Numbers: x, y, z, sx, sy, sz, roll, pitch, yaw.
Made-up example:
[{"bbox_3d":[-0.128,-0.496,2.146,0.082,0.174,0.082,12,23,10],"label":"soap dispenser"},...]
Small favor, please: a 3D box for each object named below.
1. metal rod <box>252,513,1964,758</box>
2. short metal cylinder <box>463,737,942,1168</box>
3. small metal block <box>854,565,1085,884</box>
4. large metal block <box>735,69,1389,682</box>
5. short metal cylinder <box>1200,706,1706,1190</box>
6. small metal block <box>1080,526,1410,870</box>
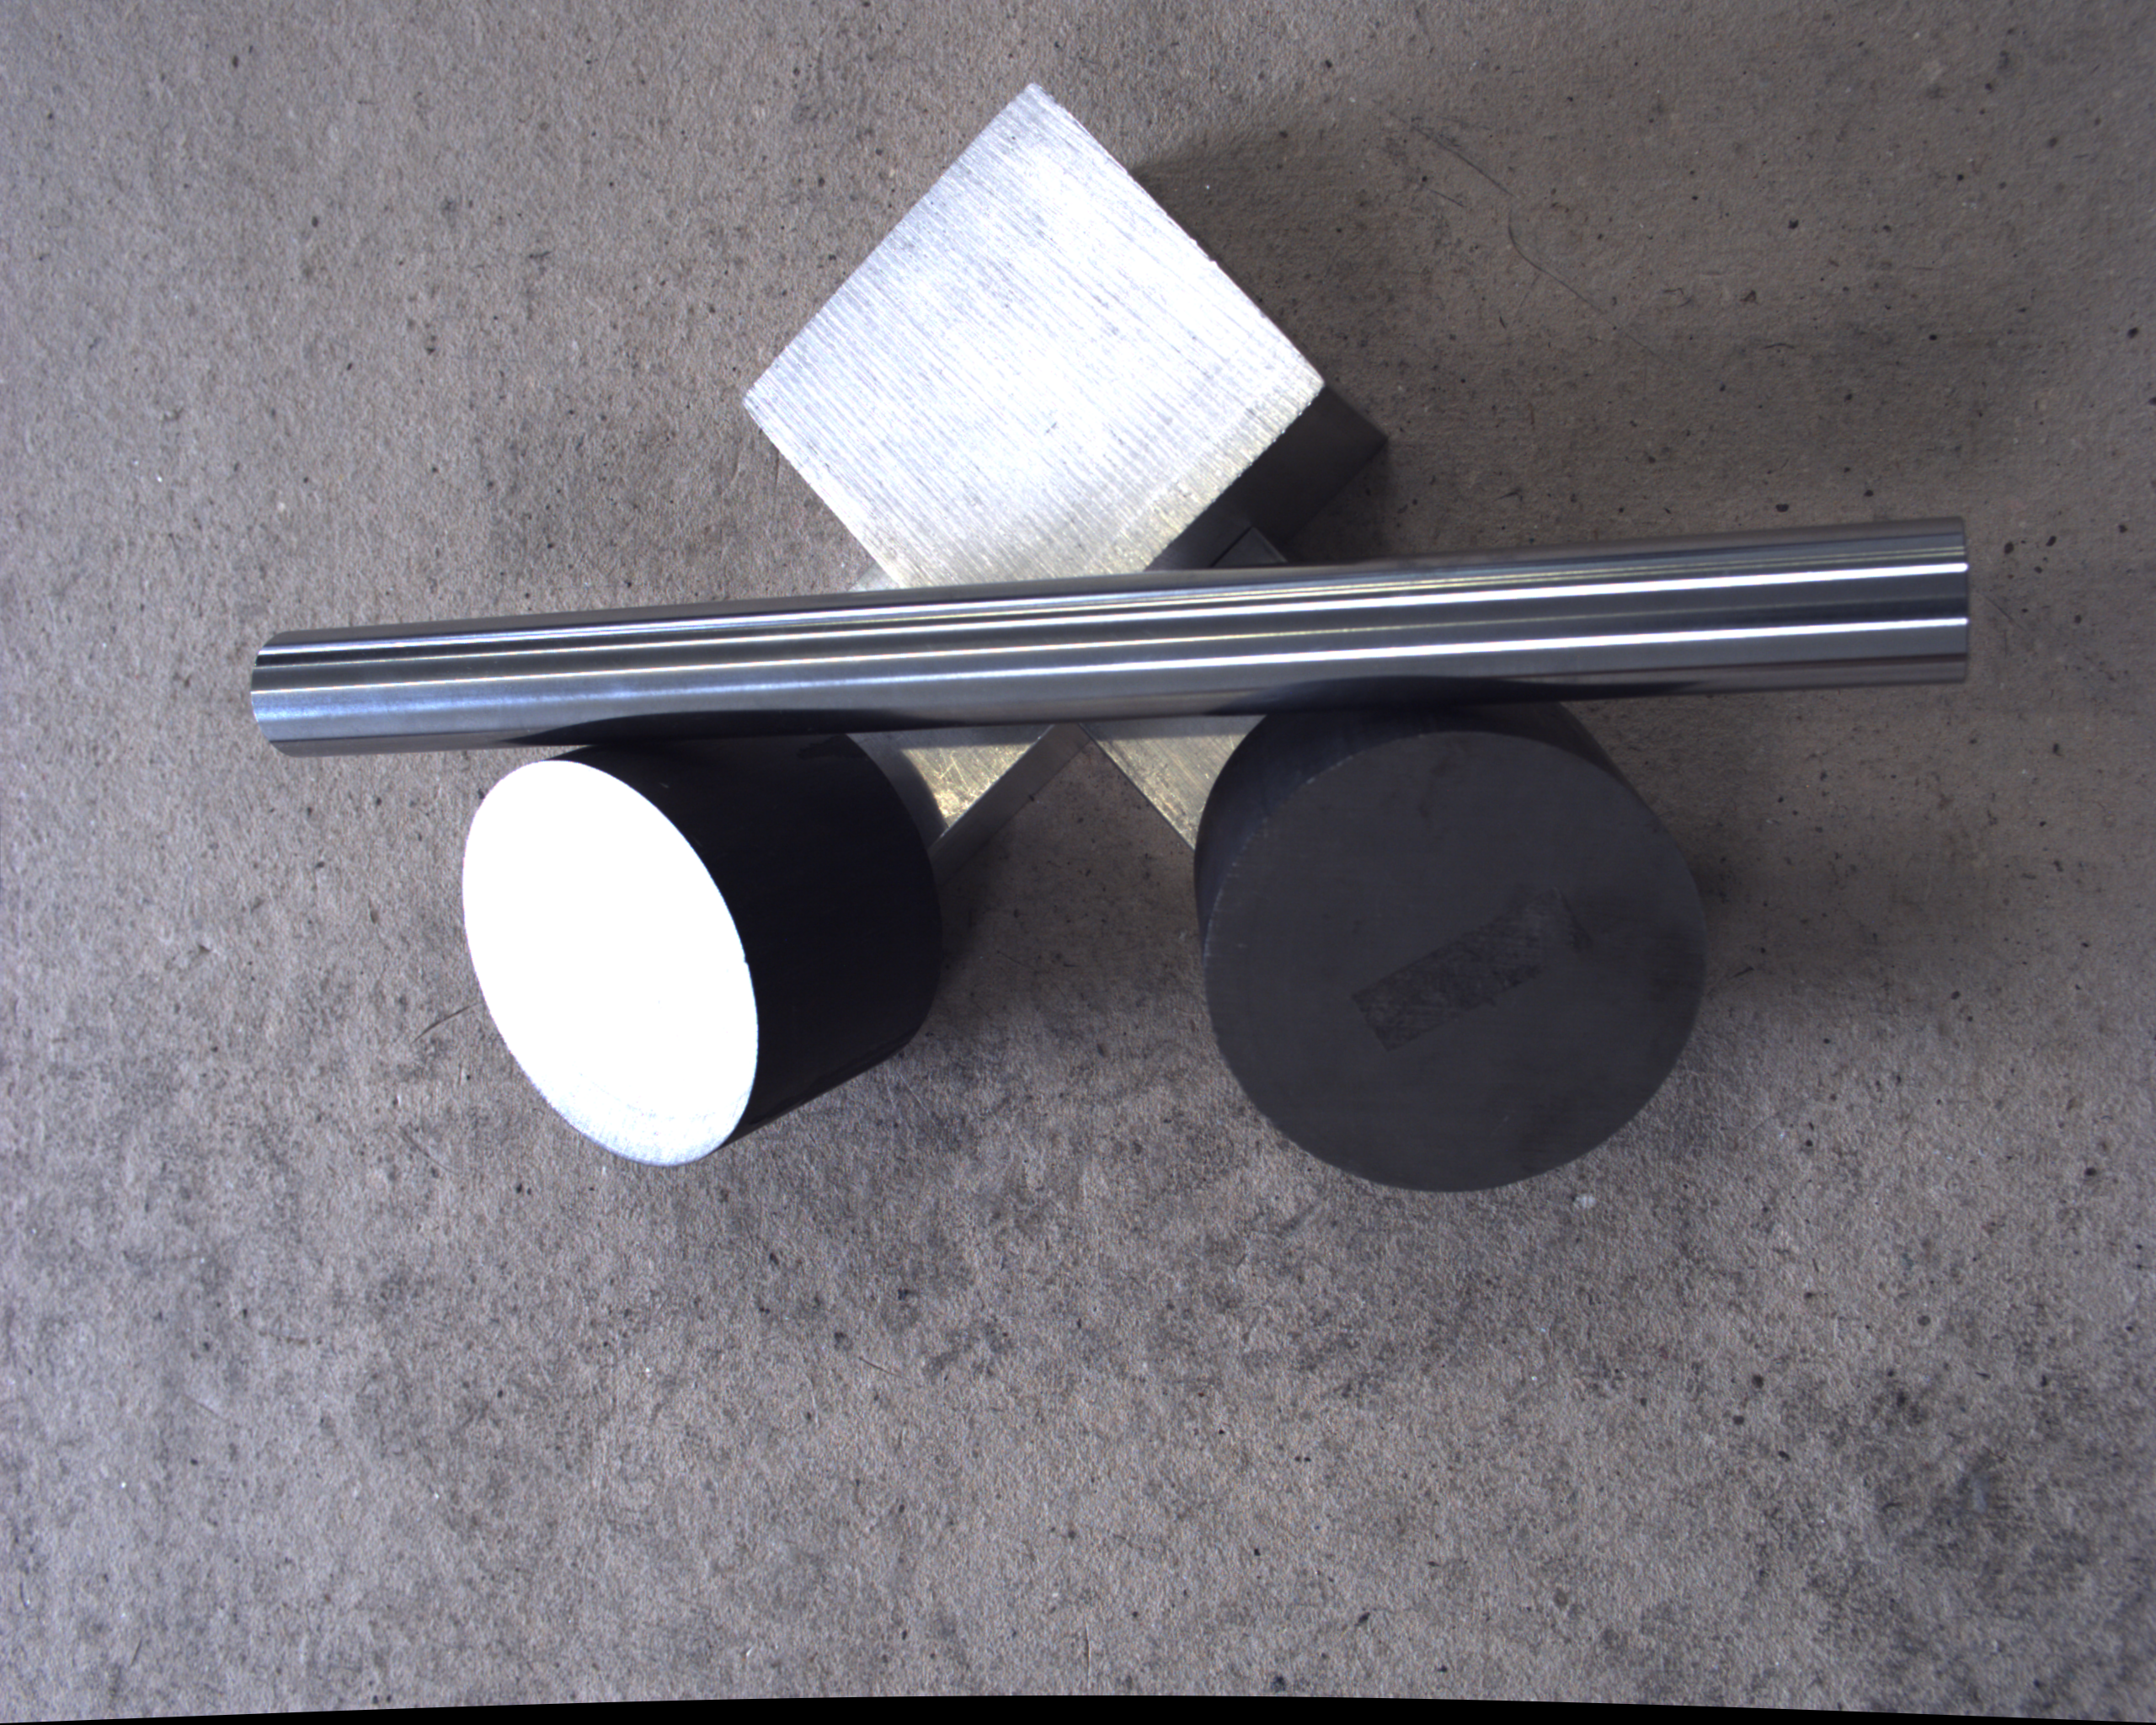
[{"bbox_3d":[-0.011,-0.036,0.359,0.301,0.025,0.025,-1,90,19],"label":"metal rod"},{"bbox_3d":[-0.074,0.013,0.407,0.080,0.050,0.079,15,115,34],"label":"short metal cylinder"},{"bbox_3d":[-0.032,-0.029,0.422,0.050,0.025,0.050,-45,76,13],"label":"small metal block"},{"bbox_3d":[-0.002,-0.085,0.395,0.080,0.050,0.080,-44,77,14],"label":"large metal block"},{"bbox_3d":[0.061,0.009,0.360,0.080,0.050,0.079,0,108,1],"label":"short metal cylinder"},{"bbox_3d":[0.036,-0.027,0.397,0.050,0.025,0.050,-45,76,14],"label":"small metal block"}]
